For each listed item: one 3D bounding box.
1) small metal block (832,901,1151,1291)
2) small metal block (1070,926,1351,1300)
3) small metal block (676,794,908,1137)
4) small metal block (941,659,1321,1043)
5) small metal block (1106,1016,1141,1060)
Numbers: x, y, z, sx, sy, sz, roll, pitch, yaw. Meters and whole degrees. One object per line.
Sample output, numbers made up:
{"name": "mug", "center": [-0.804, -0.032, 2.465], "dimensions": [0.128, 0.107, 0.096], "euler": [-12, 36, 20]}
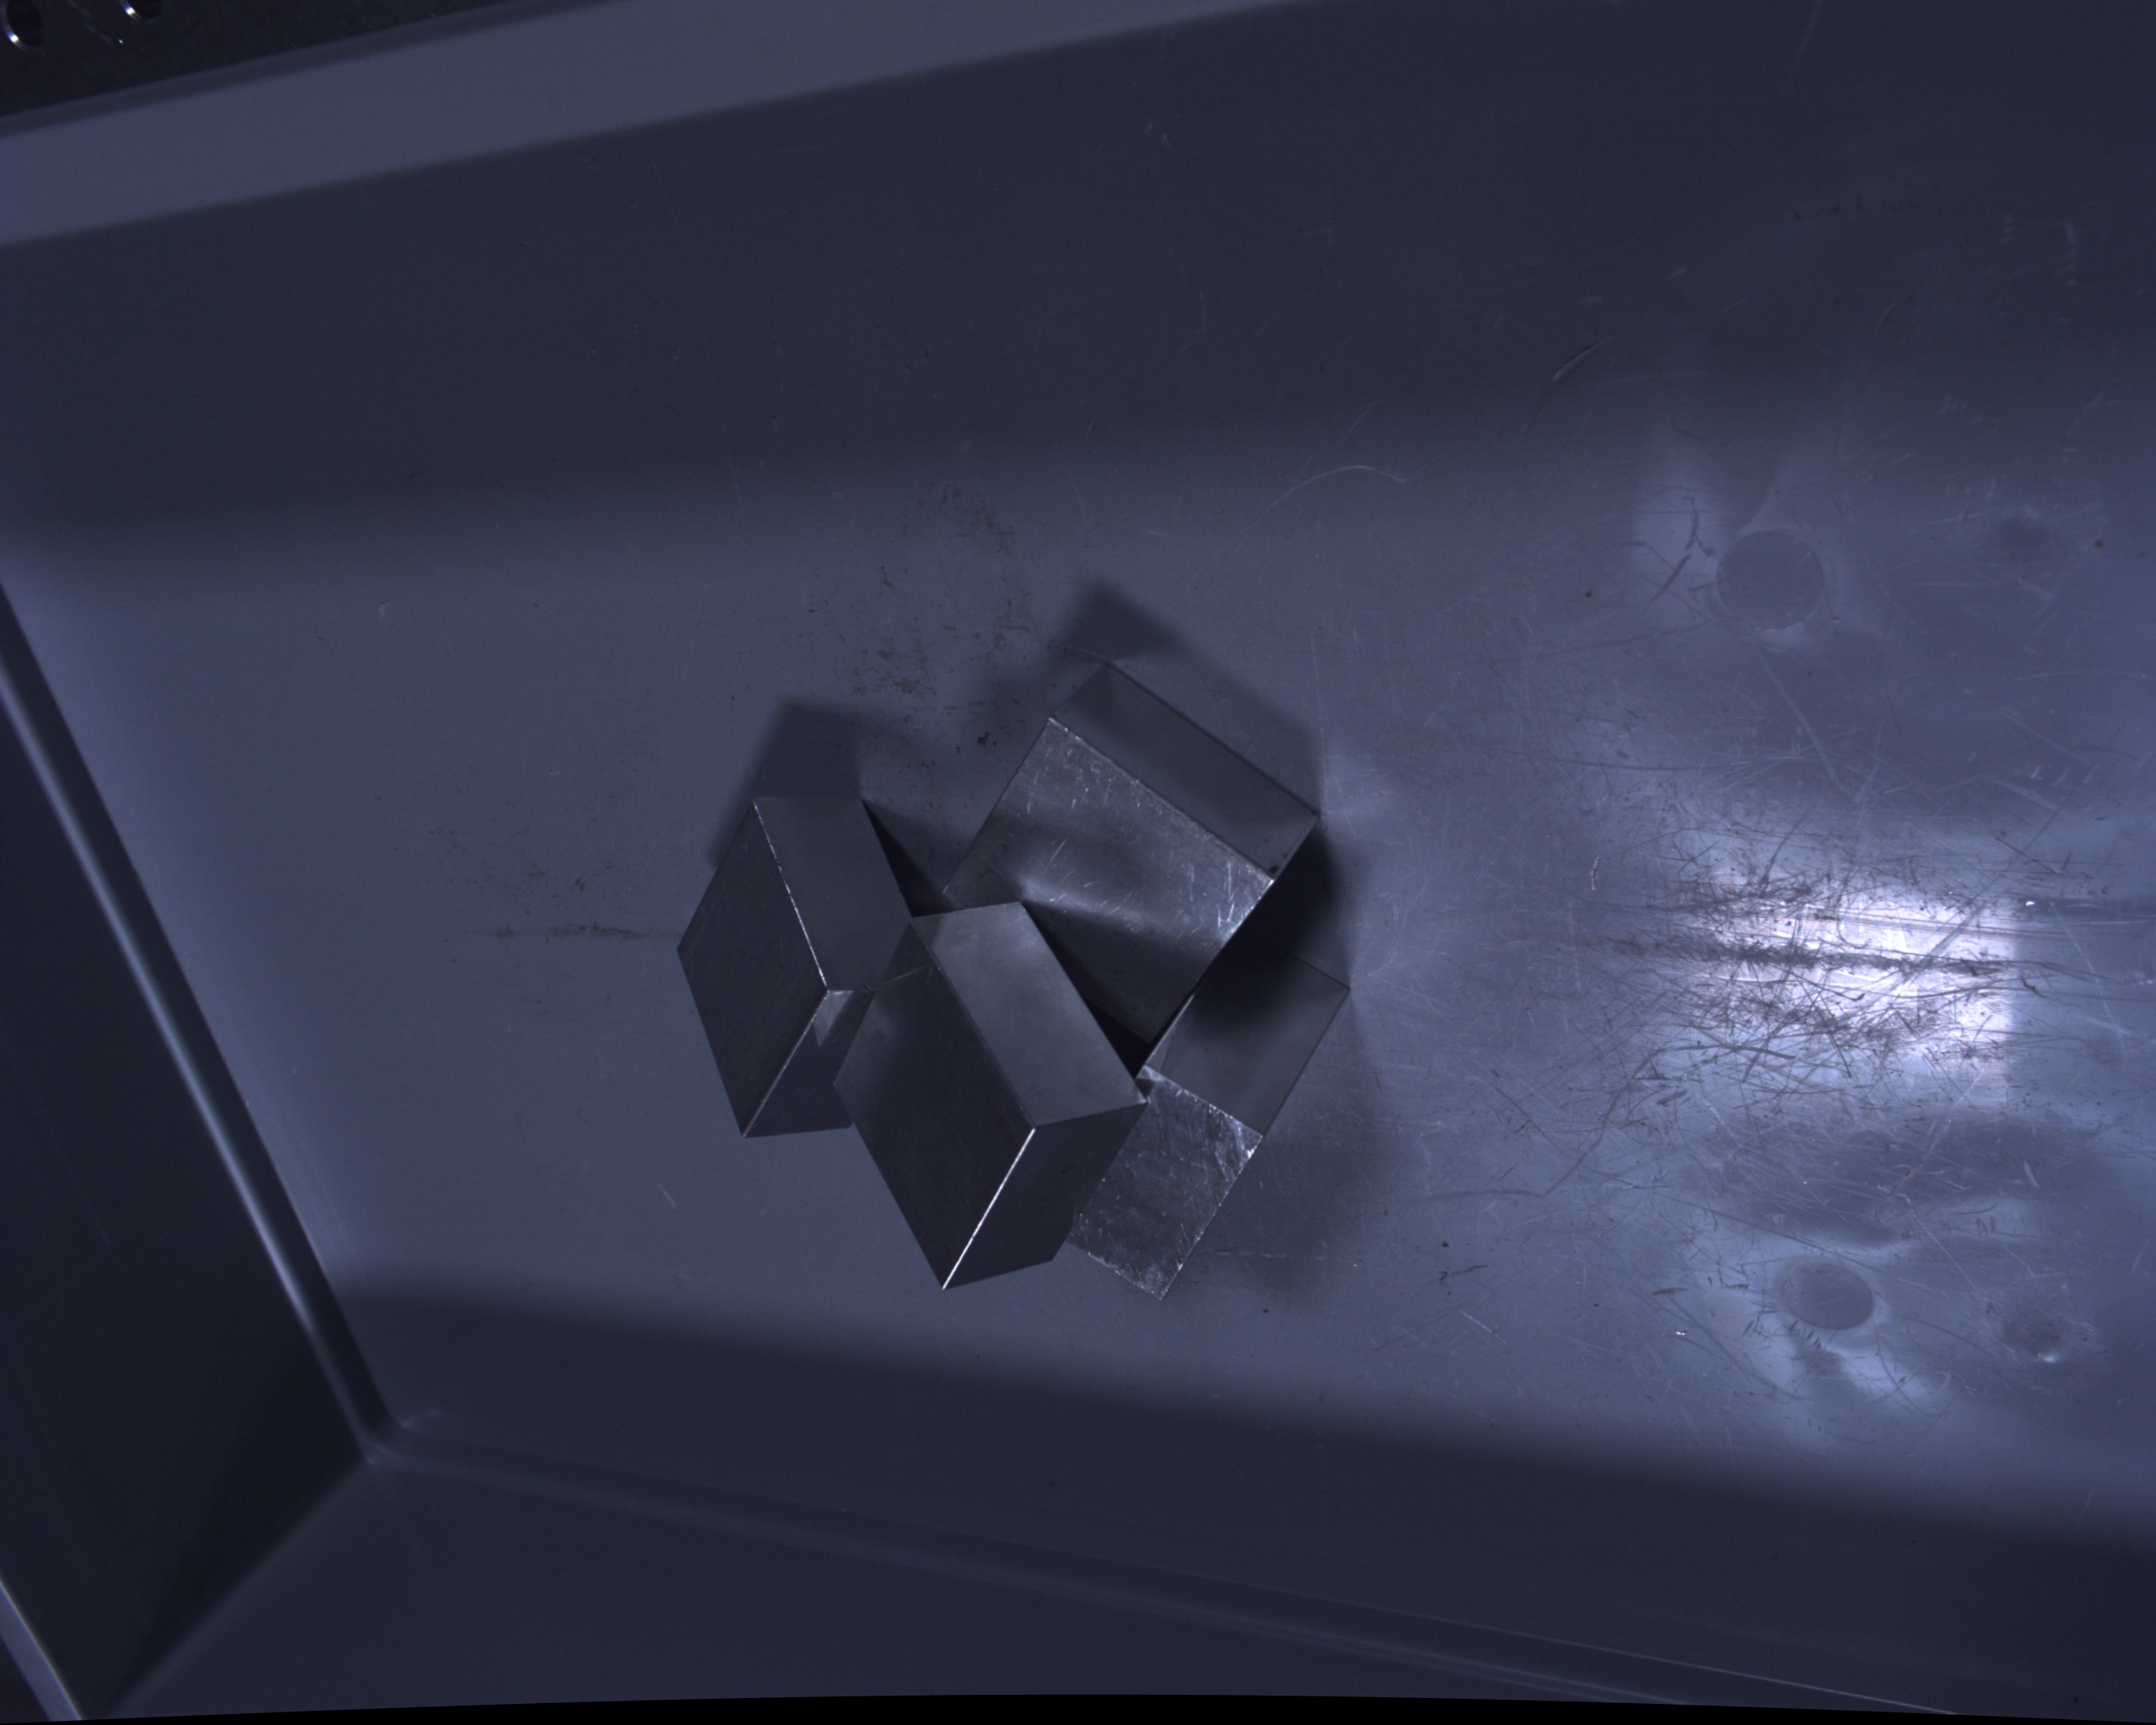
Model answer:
{"name": "small metal block", "center": [-0.018, 0.044, 0.394], "dimensions": [0.050, 0.025, 0.050], "euler": [57, 137, 32]}
{"name": "small metal block", "center": [0.024, 0.048, 0.406], "dimensions": [0.025, 0.050, 0.050], "euler": [31, 128, 8]}
{"name": "small metal block", "center": [-0.057, 0.021, 0.432], "dimensions": [0.050, 0.025, 0.050], "euler": [-57, 47, 39]}
{"name": "small metal block", "center": [0.009, -0.002, 0.399], "dimensions": [0.050, 0.025, 0.050], "euler": [36, 129, 3]}
{"name": "small metal block", "center": [-0.014, 0.039, 0.437], "dimensions": [0.050, 0.025, 0.050], "euler": [36, 129, 3]}
